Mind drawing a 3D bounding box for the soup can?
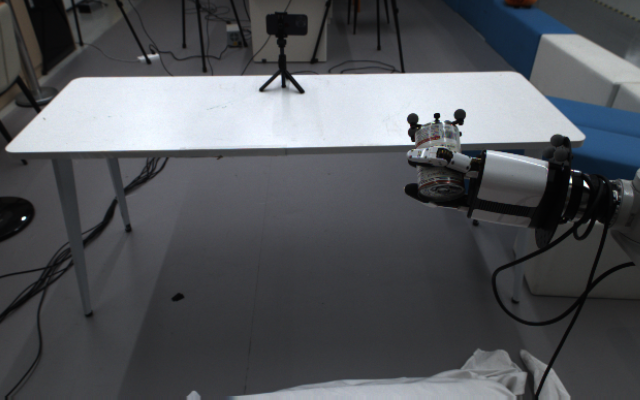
[{"bbox_3d":[0.177,-0.057,0.717,0.067,0.067,0.101,2,68,-1],"label":"soup can"}]
